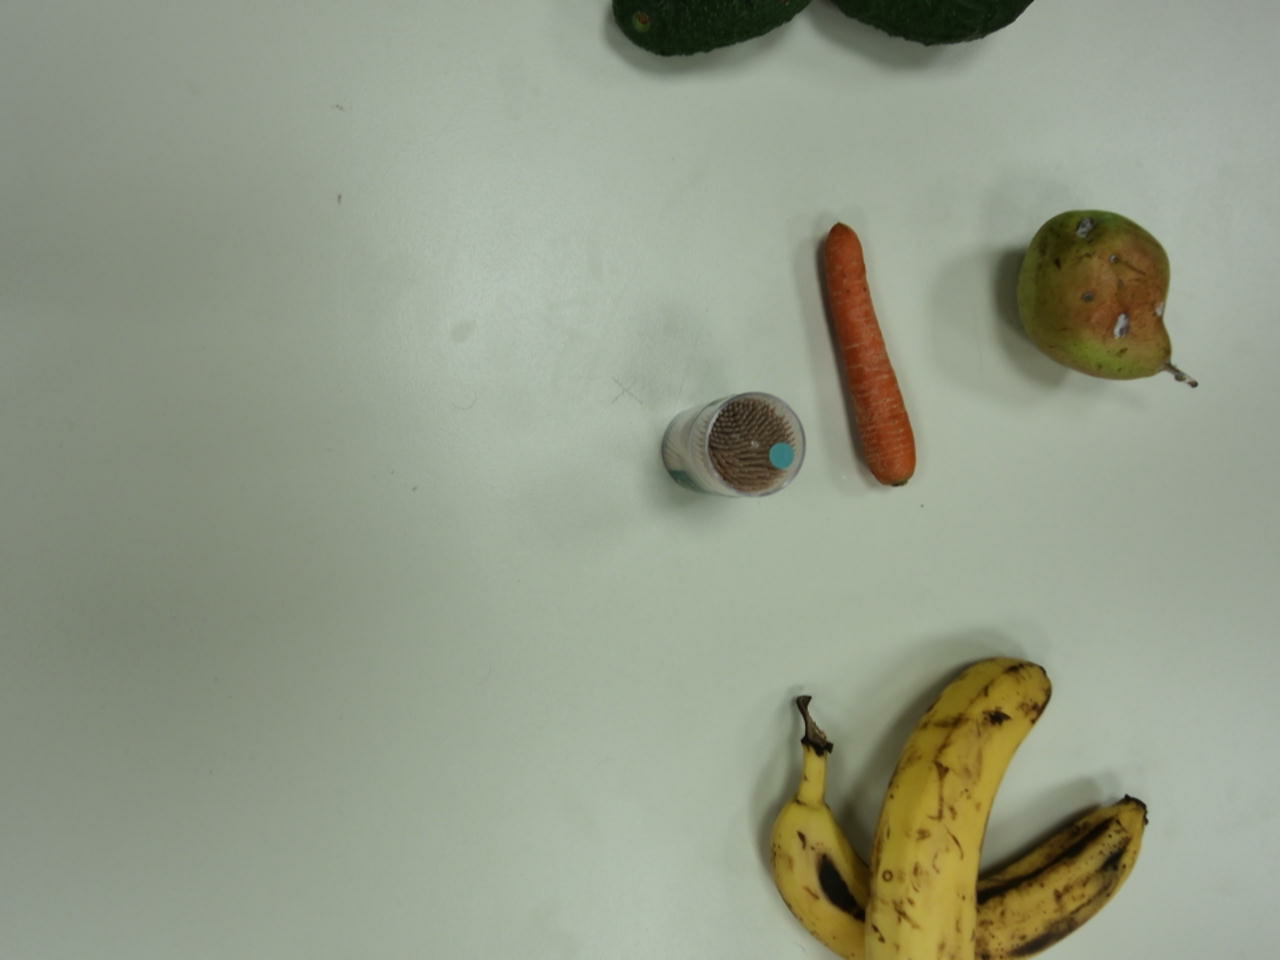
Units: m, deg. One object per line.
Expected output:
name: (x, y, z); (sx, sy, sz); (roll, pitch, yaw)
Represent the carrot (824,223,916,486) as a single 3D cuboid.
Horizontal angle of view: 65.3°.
carrot: (0.103, -0.056, 0.452); (0.024, 0.023, 0.122); (-13, 93, -12)
